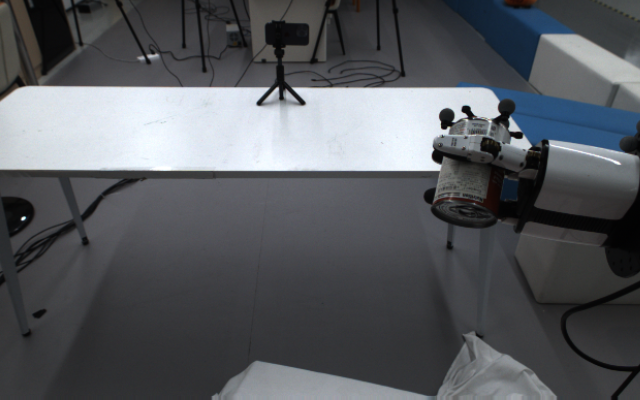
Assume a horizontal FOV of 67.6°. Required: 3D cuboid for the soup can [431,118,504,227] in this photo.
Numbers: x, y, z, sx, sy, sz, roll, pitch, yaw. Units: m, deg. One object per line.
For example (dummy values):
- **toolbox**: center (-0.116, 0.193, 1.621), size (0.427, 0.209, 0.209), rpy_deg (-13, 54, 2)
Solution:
- **soup can**: center (0.164, -0.033, 0.523), size (0.067, 0.067, 0.101), rpy_deg (12, 70, 14)
